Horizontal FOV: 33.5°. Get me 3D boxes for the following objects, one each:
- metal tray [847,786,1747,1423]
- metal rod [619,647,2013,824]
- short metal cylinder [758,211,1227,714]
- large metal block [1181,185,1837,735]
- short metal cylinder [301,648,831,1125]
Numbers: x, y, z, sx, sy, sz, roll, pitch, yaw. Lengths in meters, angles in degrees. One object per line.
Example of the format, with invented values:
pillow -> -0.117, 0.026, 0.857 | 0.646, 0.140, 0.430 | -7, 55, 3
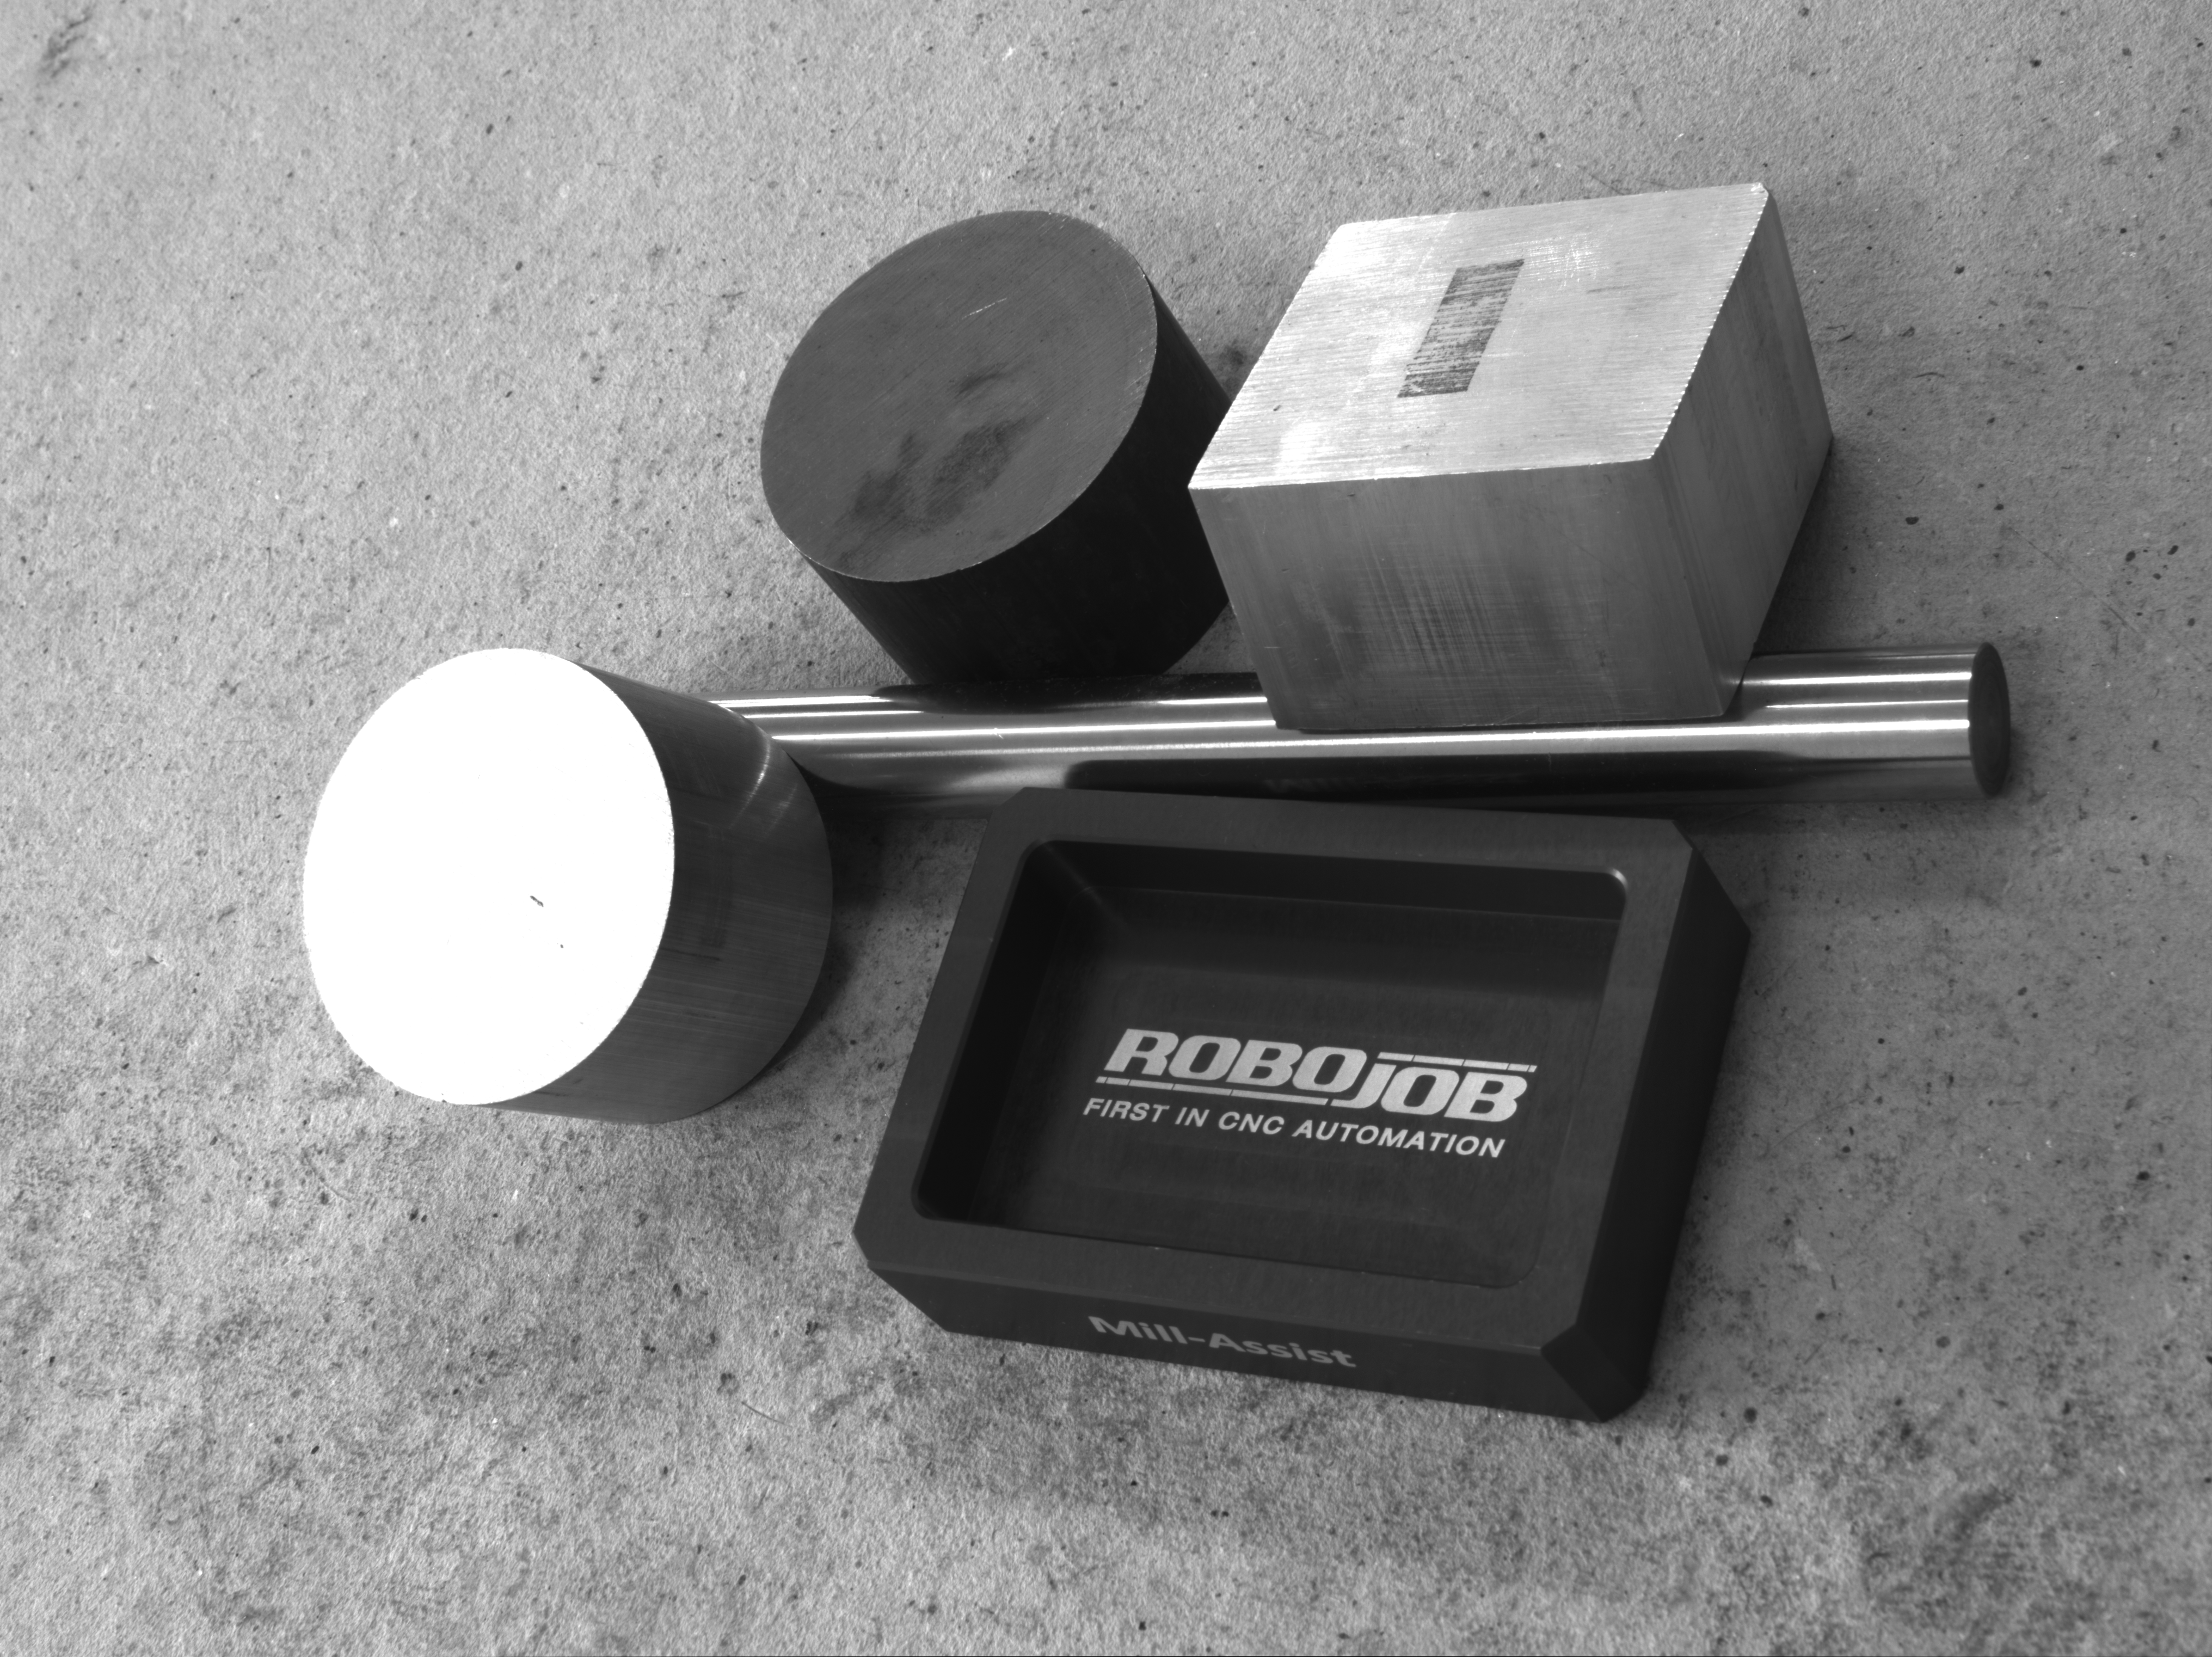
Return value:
metal tray -> 0.030, 0.042, 0.599 | 0.130, 0.030, 0.090 | 3, 63, 30
metal rod -> 0.008, -0.014, 0.652 | 0.299, 0.025, 0.025 | -1, 61, 28
short metal cylinder -> -0.017, -0.067, 0.680 | 0.080, 0.050, 0.080 | -14, 55, 21
large metal block -> 0.069, -0.061, 0.614 | 0.080, 0.050, 0.080 | -1, 40, 28
short metal cylinder -> -0.097, 0.011, 0.659 | 0.080, 0.050, 0.080 | -5, 80, 27
